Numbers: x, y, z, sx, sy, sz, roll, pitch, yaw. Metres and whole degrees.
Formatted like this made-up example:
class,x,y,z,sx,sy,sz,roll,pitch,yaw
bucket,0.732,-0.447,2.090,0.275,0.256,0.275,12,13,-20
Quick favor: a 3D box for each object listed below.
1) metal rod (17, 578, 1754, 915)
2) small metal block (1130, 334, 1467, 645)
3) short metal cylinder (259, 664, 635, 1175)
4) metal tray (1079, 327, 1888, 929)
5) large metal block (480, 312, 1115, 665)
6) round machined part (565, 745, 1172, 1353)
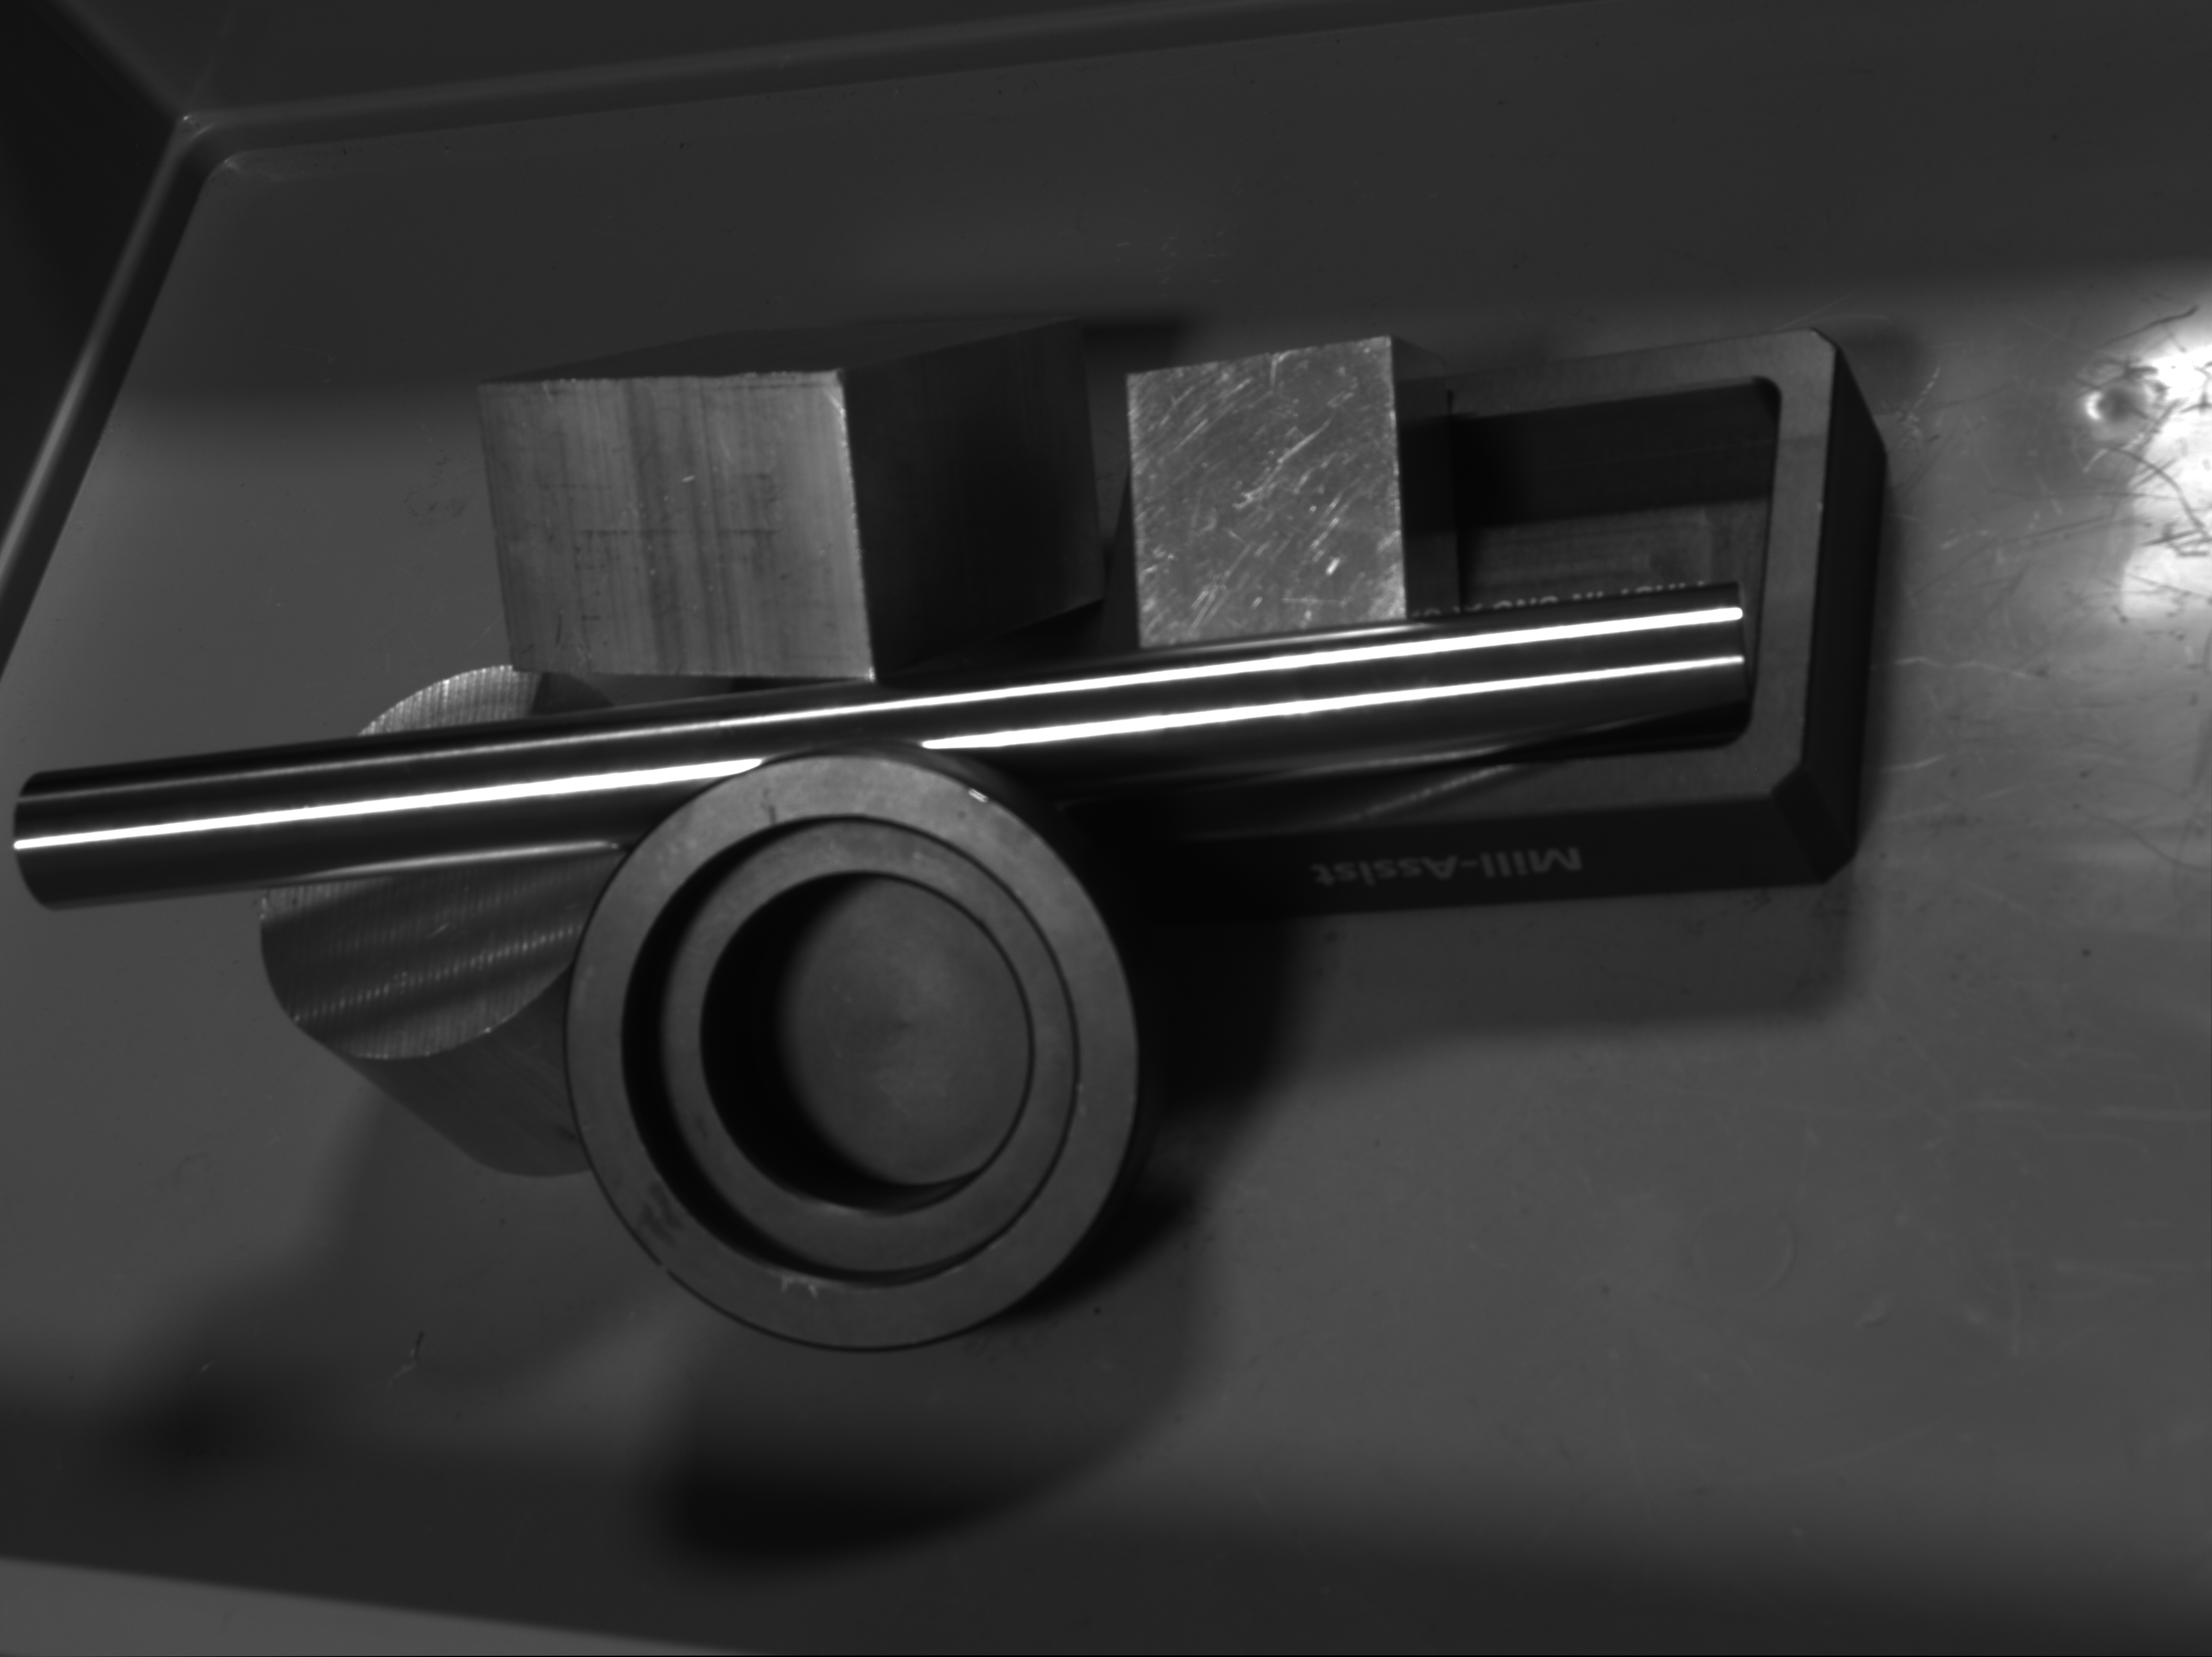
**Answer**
class,x,y,z,sx,sy,sz,roll,pitch,yaw
metal rod,-0.042,-0.012,0.620,0.300,0.025,0.025,-6,58,13
small metal block,0.033,-0.055,0.631,0.050,0.025,0.050,-5,85,26
short metal cylinder,-0.107,0.017,0.673,0.080,0.050,0.080,-13,56,21
metal tray,0.063,-0.033,0.625,0.130,0.030,0.090,-5,59,26
large metal block,-0.054,-0.063,0.665,0.080,0.080,0.050,2,105,31
round machined part,-0.037,0.035,0.609,0.098,0.042,0.098,1,95,14
